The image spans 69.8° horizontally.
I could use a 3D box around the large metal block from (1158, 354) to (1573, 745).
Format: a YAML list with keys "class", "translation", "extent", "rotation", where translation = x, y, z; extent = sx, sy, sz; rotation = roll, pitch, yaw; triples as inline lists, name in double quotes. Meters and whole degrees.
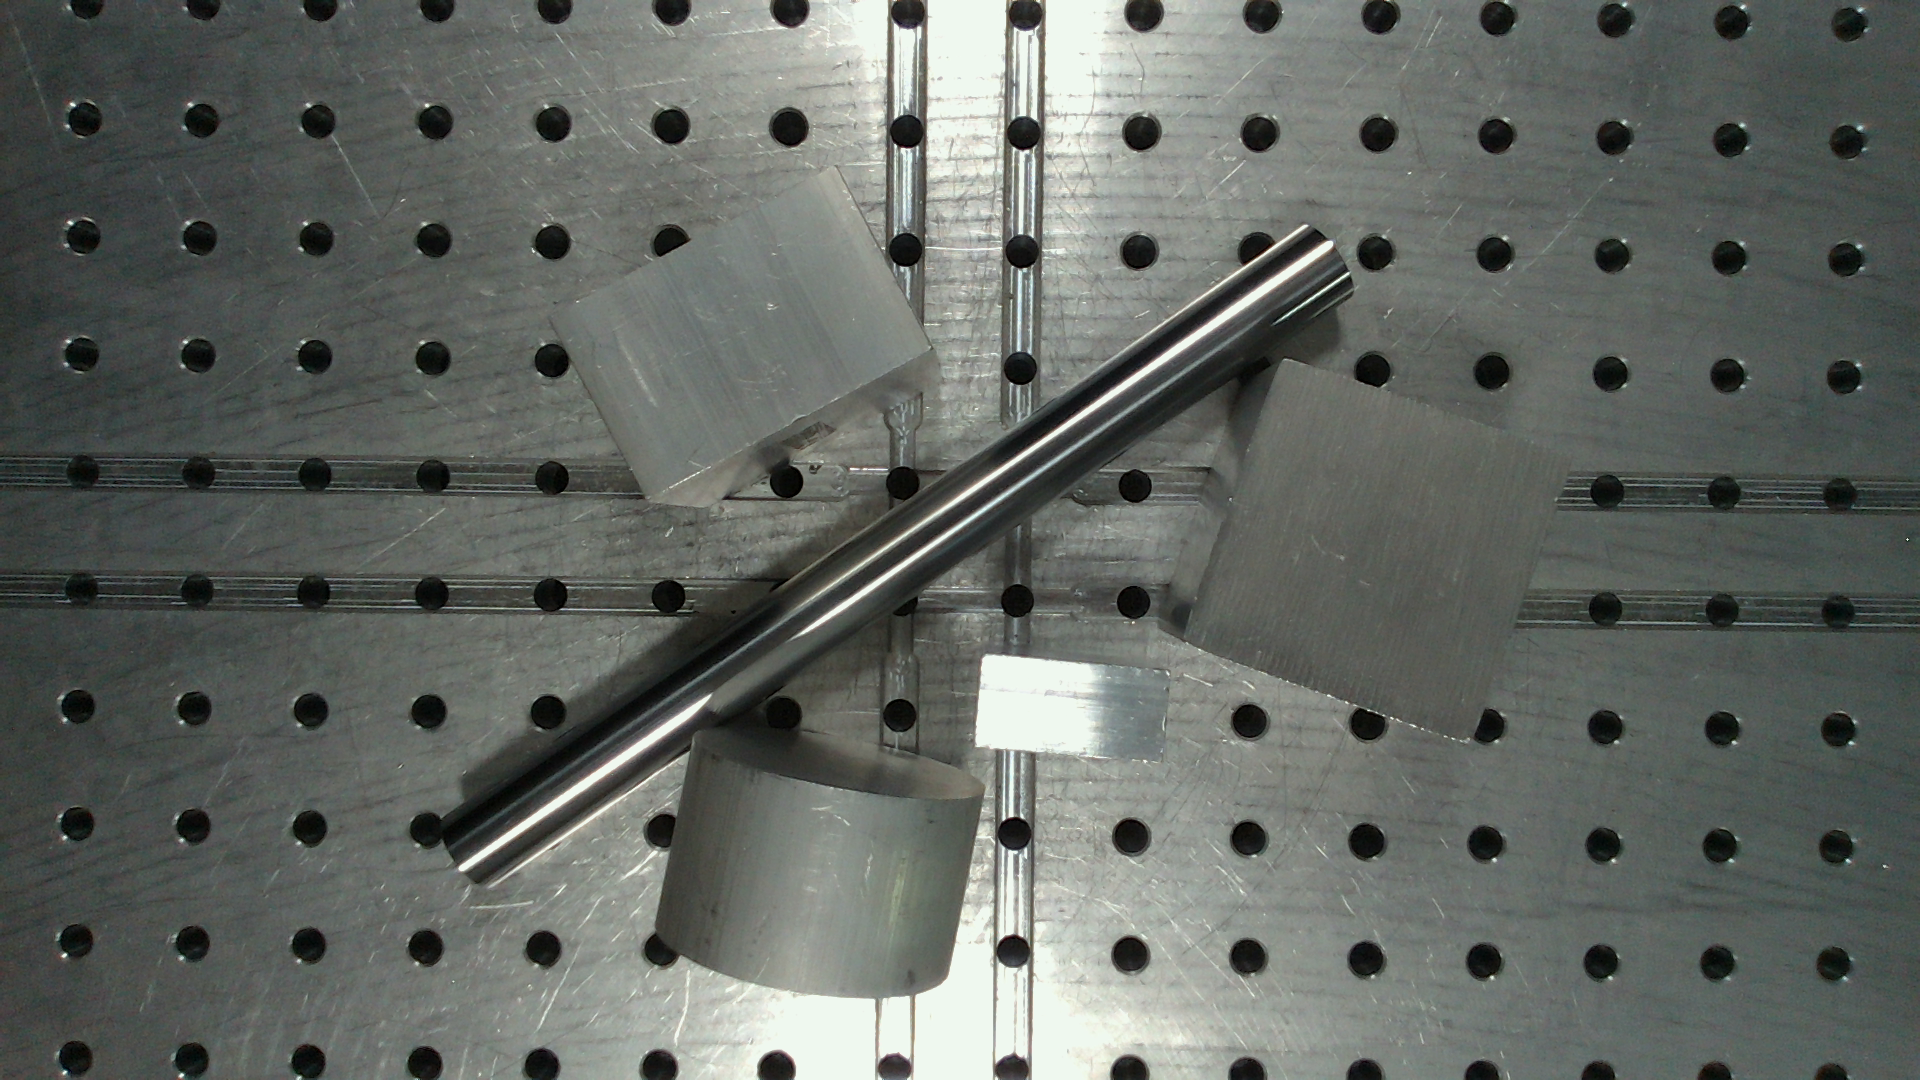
- class: "large metal block"
  translation: [0.109, 0.002, 0.383]
  extent: [0.080, 0.050, 0.080]
  rotation: [19, 90, 0]

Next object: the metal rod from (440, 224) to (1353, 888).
- class: "metal rod"
  translation: [-0.018, 0.005, 0.397]
  extent: [0.300, 0.025, 0.025]
  rotation: [-35, 90, 0]

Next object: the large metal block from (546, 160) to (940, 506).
- class: "large metal block"
  translation: [-0.052, -0.050, 0.371]
  extent: [0.080, 0.080, 0.050]
  rotation: [-29, 90, 0]

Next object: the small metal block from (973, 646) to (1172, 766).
- class: "small metal block"
  translation: [0.030, 0.045, 0.386]
  extent: [0.050, 0.050, 0.025]
  rotation: [5, 90, 0]

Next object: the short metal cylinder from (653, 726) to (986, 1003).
- class: "short metal cylinder"
  translation: [-0.037, 0.084, 0.370]
  extent: [0.080, 0.080, 0.050]
  rotation: [12, 90, 0]
